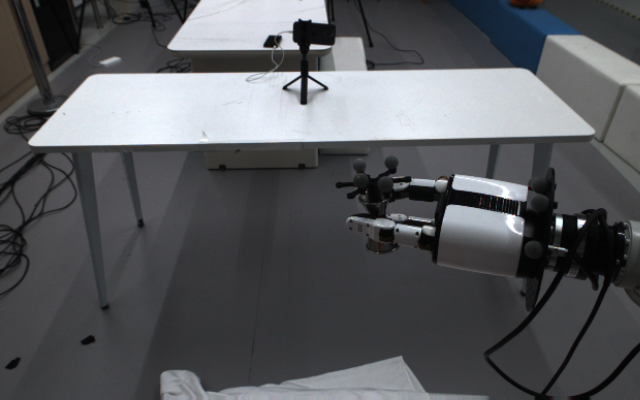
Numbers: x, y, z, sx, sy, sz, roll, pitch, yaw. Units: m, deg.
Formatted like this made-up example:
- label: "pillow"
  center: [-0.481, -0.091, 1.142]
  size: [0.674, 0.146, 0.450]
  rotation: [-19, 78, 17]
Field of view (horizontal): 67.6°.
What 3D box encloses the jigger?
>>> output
- label: "jigger"
  center: [0.073, 0.023, 0.592]
  size: [0.043, 0.071, 0.043]
  rotation: [-11, 23, 5]
